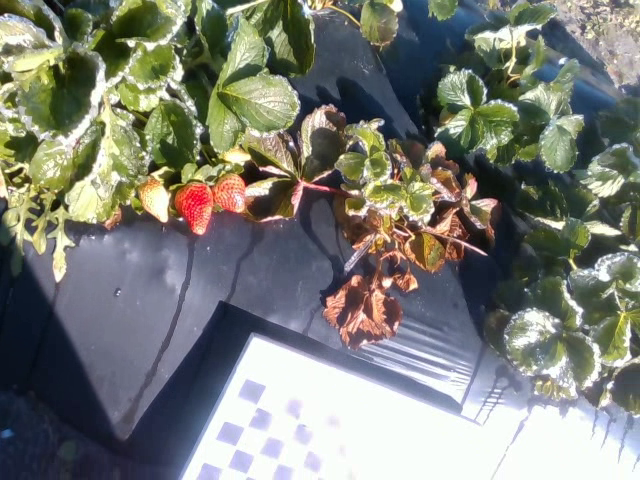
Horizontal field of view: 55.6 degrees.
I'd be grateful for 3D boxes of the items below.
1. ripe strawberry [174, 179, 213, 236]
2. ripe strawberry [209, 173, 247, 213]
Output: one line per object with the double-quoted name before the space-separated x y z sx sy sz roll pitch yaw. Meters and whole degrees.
"ripe strawberry" -0.110 -0.024 0.543 0.036 0.052 0.040 -14 -24 -9
"ripe strawberry" -0.081 -0.043 0.564 0.036 0.041 0.030 -38 10 -2
